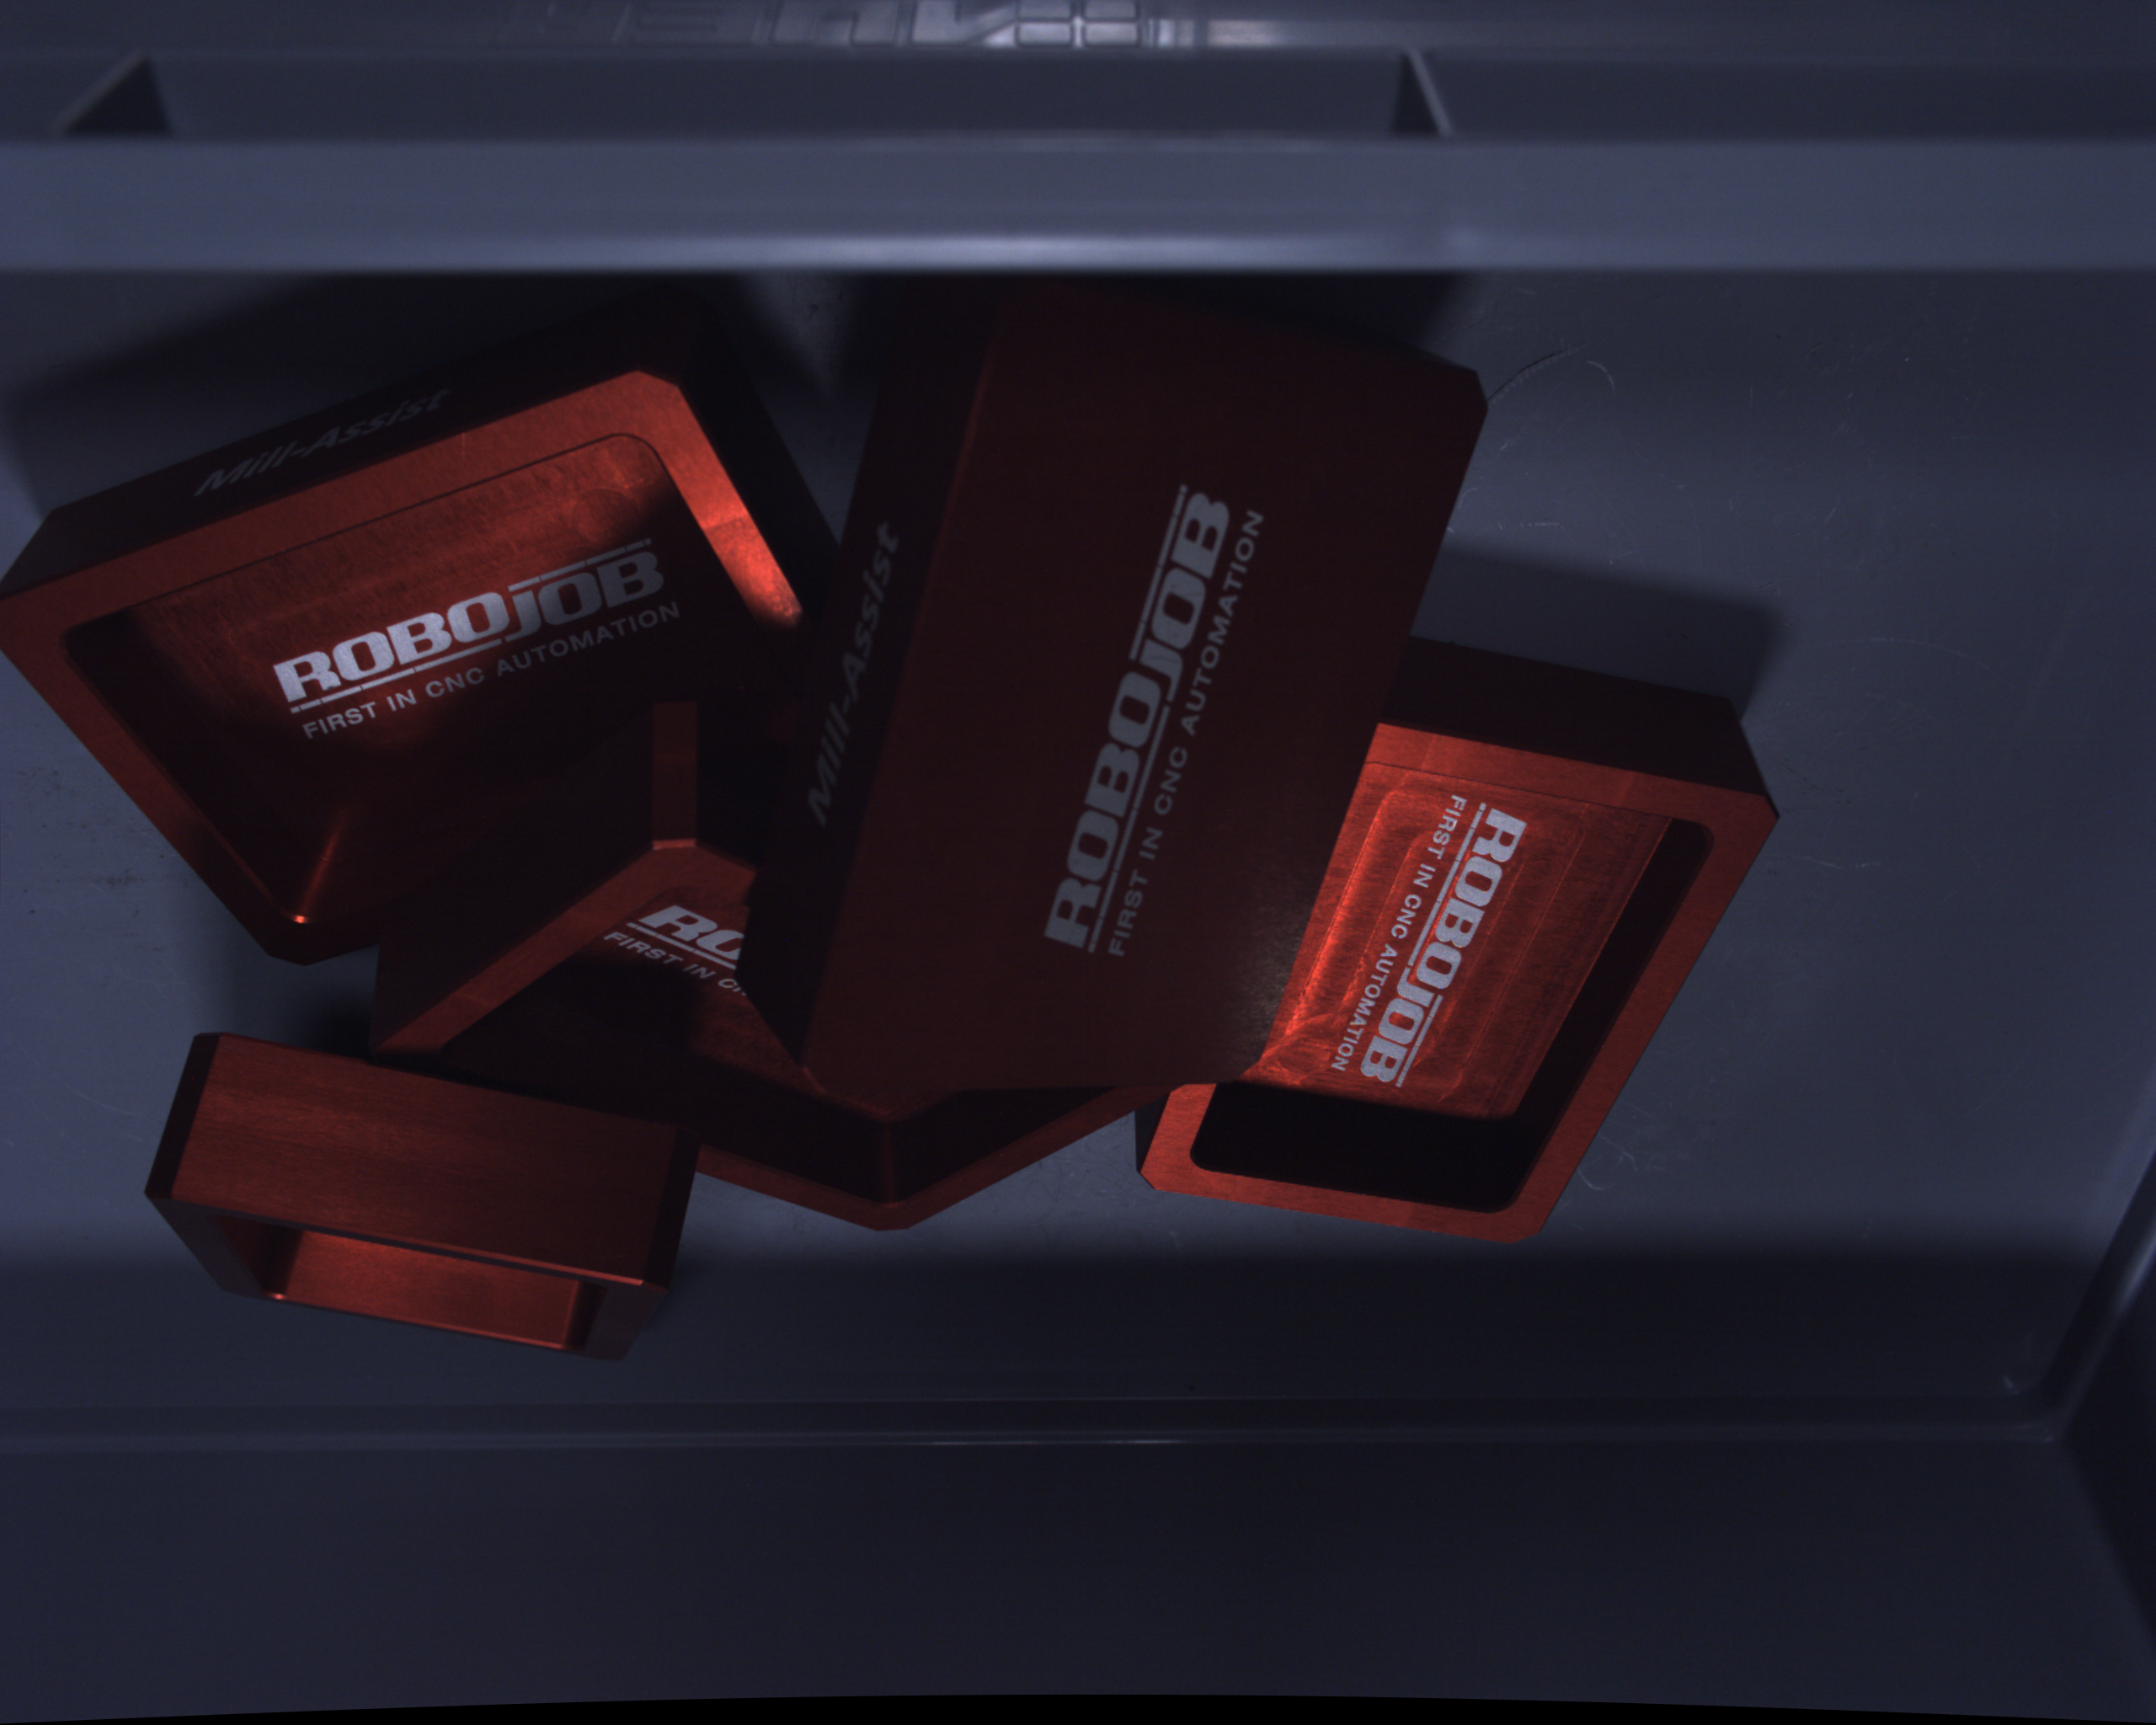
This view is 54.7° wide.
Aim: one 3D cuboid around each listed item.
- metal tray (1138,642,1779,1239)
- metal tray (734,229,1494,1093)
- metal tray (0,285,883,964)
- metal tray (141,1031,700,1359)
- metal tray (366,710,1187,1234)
[{"bbox_3d":[0.070,0.019,0.421,0.091,0.030,0.129,10,130,-9],"label":"metal tray"},{"bbox_3d":[0.005,-0.026,0.336,0.091,0.030,0.129,3,114,-33],"label":"metal tray"},{"bbox_3d":[-0.108,-0.037,0.370,0.130,0.030,0.090,-16,129,12],"label":"metal tray"},{"bbox_3d":[-0.131,0.073,0.426,0.091,0.030,0.129,13,157,-12],"label":"metal tray"},{"bbox_3d":[-0.054,0.027,0.398,0.090,0.030,0.131,-31,139,31],"label":"metal tray"}]
